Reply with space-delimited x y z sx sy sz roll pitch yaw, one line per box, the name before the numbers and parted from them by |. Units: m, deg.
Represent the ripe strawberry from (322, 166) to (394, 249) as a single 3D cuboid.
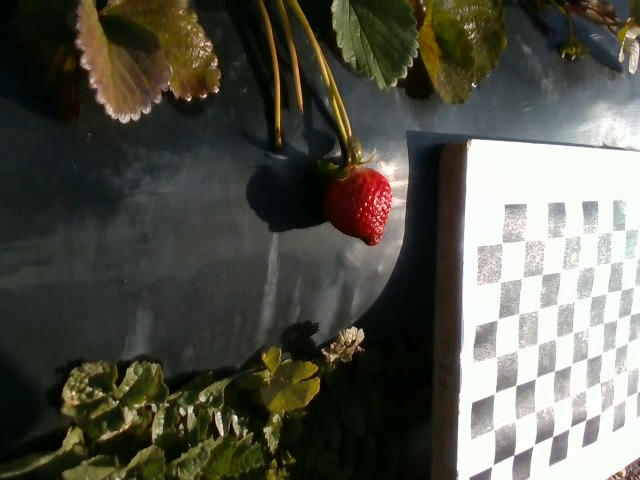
ripe strawberry | 0.020 -0.014 0.285 0.040 0.044 0.036 -27 9 -33
